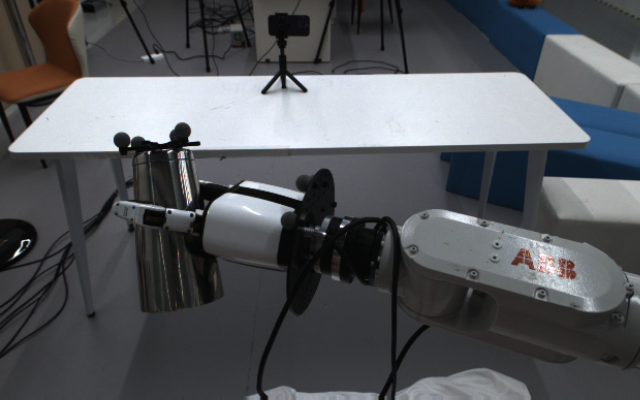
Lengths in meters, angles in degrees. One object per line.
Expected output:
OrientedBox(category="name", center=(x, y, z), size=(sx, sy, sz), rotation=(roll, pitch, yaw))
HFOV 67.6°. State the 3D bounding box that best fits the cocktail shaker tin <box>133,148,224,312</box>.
OrientedBox(category="cocktail shaker tin", center=(-0.166, 0.033, 0.548), size=(0.093, 0.170, 0.093), rotation=(-8, 1, 0))
